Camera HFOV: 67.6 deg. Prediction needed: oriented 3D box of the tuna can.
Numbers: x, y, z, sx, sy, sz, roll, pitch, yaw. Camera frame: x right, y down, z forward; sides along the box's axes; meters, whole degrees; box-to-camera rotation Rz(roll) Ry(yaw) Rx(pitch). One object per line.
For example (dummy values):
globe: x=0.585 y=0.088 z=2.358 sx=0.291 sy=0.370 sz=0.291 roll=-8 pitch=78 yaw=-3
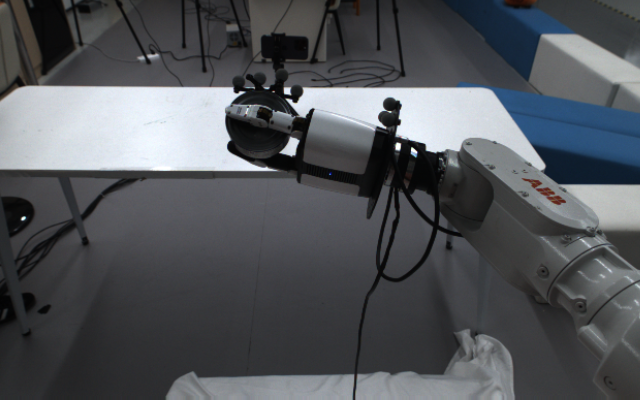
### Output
tuna can: x=-0.080 y=-0.100 z=0.639 sx=0.085 sy=0.034 sz=0.085 roll=1 pitch=73 yaw=-3
